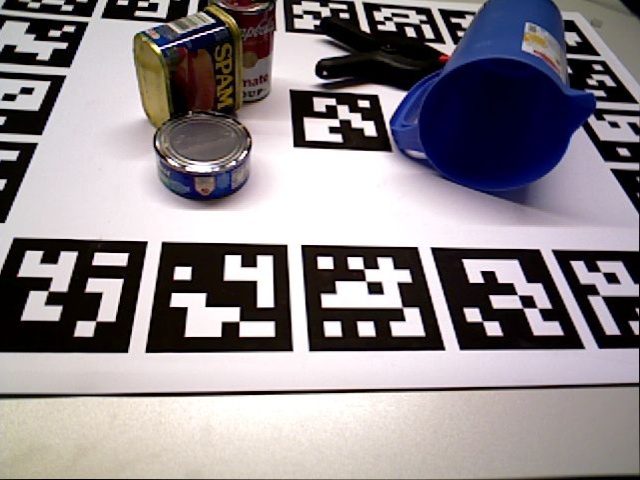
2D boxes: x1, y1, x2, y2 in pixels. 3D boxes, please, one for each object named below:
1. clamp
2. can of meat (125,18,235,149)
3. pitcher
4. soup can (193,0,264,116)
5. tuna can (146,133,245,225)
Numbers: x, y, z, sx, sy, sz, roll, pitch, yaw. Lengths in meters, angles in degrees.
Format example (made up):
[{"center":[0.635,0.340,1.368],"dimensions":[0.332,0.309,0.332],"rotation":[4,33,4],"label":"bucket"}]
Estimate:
[{"center":[0.052,-0.204,0.648],"dimensions":[0.164,0.037,0.120],"rotation":[4,45,-9],"label":"clamp"},{"center":[-0.131,-0.141,0.507],"dimensions":[0.082,0.104,0.057],"rotation":[-32,62,-26],"label":"can of meat"},{"center":[0.180,-0.158,0.547],"dimensions":[0.190,0.135,0.237],"rotation":[1,39,22],"label":"pitcher"},{"center":[-0.092,-0.189,0.560],"dimensions":[0.067,0.104,0.067],"rotation":[2,52,-4],"label":"soup can"},{"center":[-0.110,-0.055,0.488],"dimensions":[0.085,0.034,0.084],"rotation":[4,52,-6],"label":"tuna can"}]
